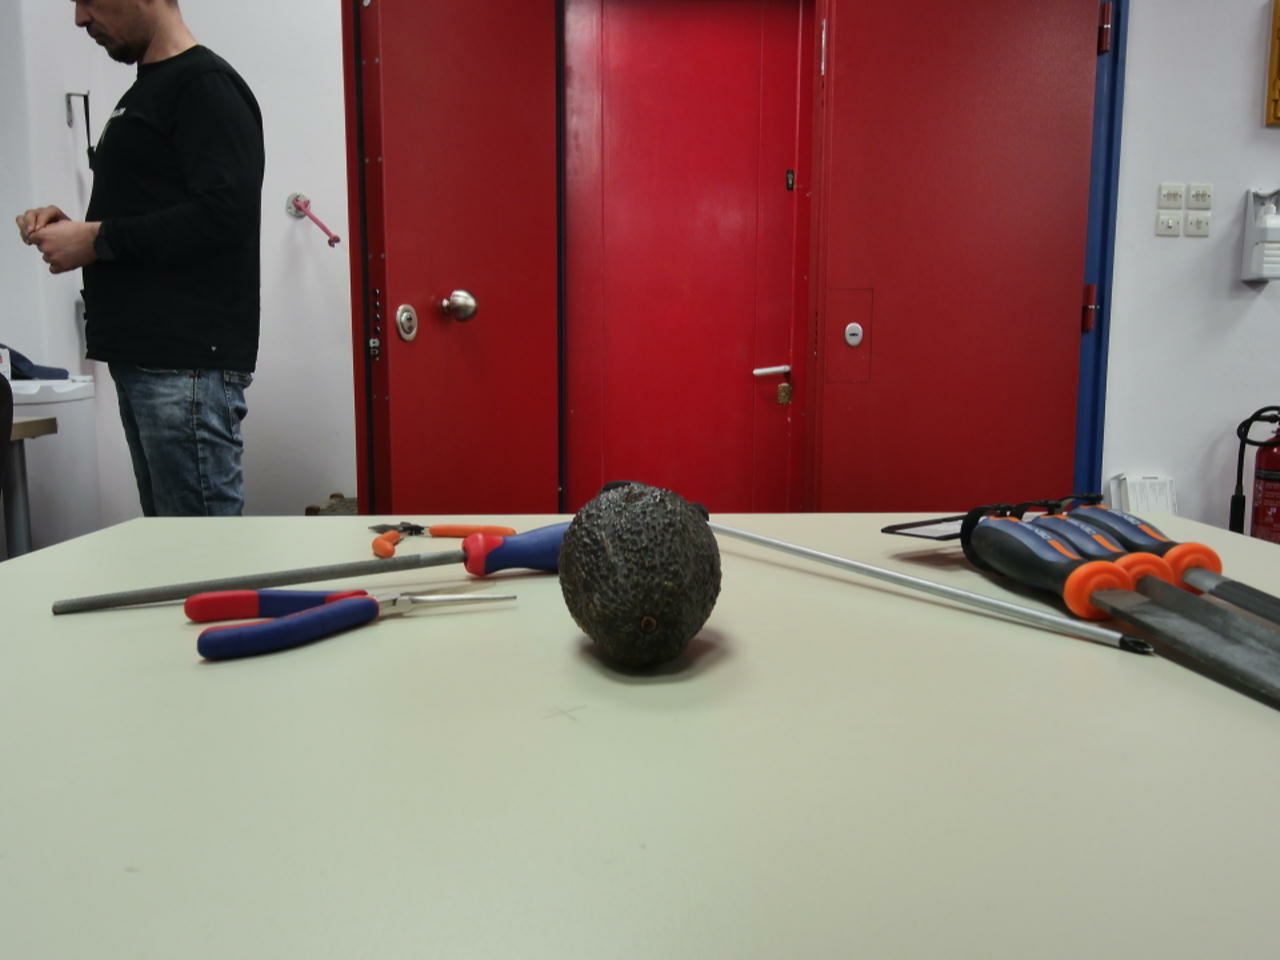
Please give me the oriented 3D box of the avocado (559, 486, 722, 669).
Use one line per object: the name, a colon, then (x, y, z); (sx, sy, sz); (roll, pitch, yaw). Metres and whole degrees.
avocado: (-0.002, 0.038, 0.419); (0.070, 0.069, 0.090); (2, 4, 24)
